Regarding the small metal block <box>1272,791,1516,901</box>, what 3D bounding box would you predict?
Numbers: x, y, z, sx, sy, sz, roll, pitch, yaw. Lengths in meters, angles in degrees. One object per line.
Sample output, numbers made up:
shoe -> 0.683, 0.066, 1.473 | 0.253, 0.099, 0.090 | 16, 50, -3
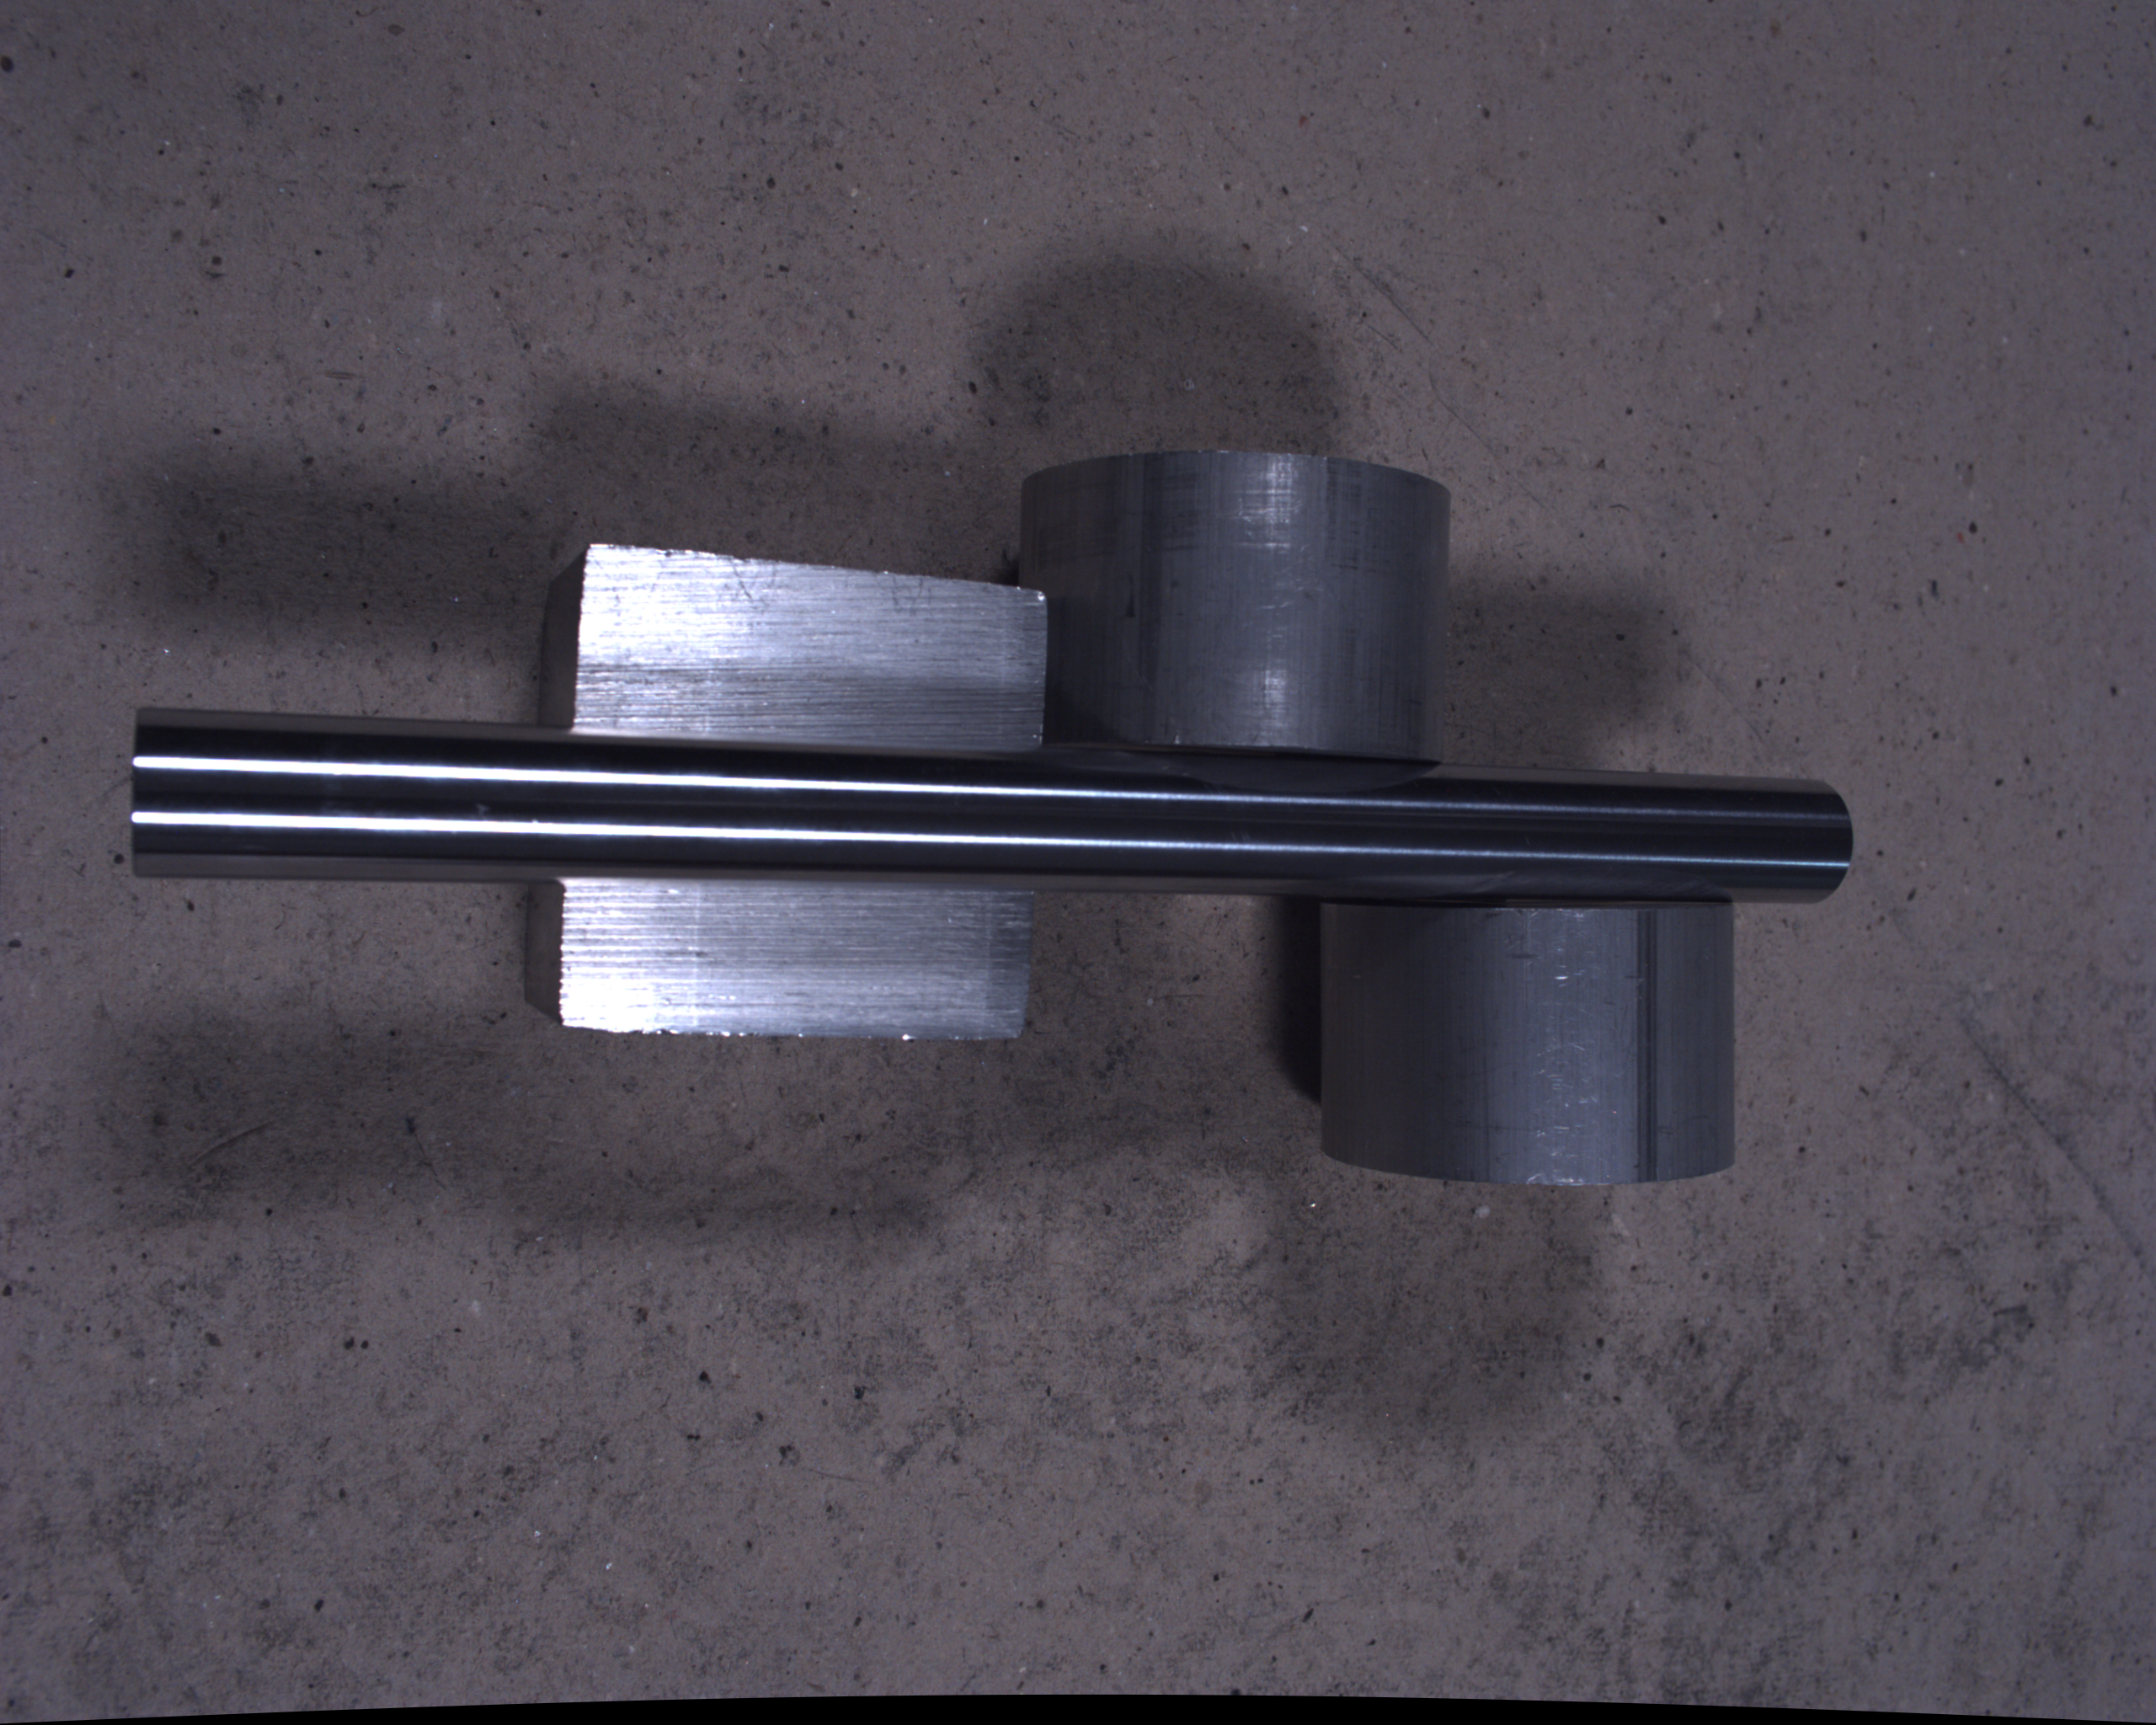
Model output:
small metal block -> 0.052, -0.005, 0.416 | 0.050, 0.050, 0.025 | 1, 90, -20

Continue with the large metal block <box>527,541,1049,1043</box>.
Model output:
large metal block -> -0.054, -0.010, 0.374 | 0.081, 0.050, 0.079 | 3, 89, -20

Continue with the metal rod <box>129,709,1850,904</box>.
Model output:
metal rod -> 0.004, -0.007, 0.358 | 0.303, 0.025, 0.025 | 1, 90, -22

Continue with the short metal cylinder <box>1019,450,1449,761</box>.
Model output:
short metal cylinder -> 0.028, -0.045, 0.393 | 0.081, 0.080, 0.050 | 2, 90, -20

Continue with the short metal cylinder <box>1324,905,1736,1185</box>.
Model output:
short metal cylinder -> 0.089, 0.033, 0.415 | 0.081, 0.080, 0.050 | 0, 90, -20
